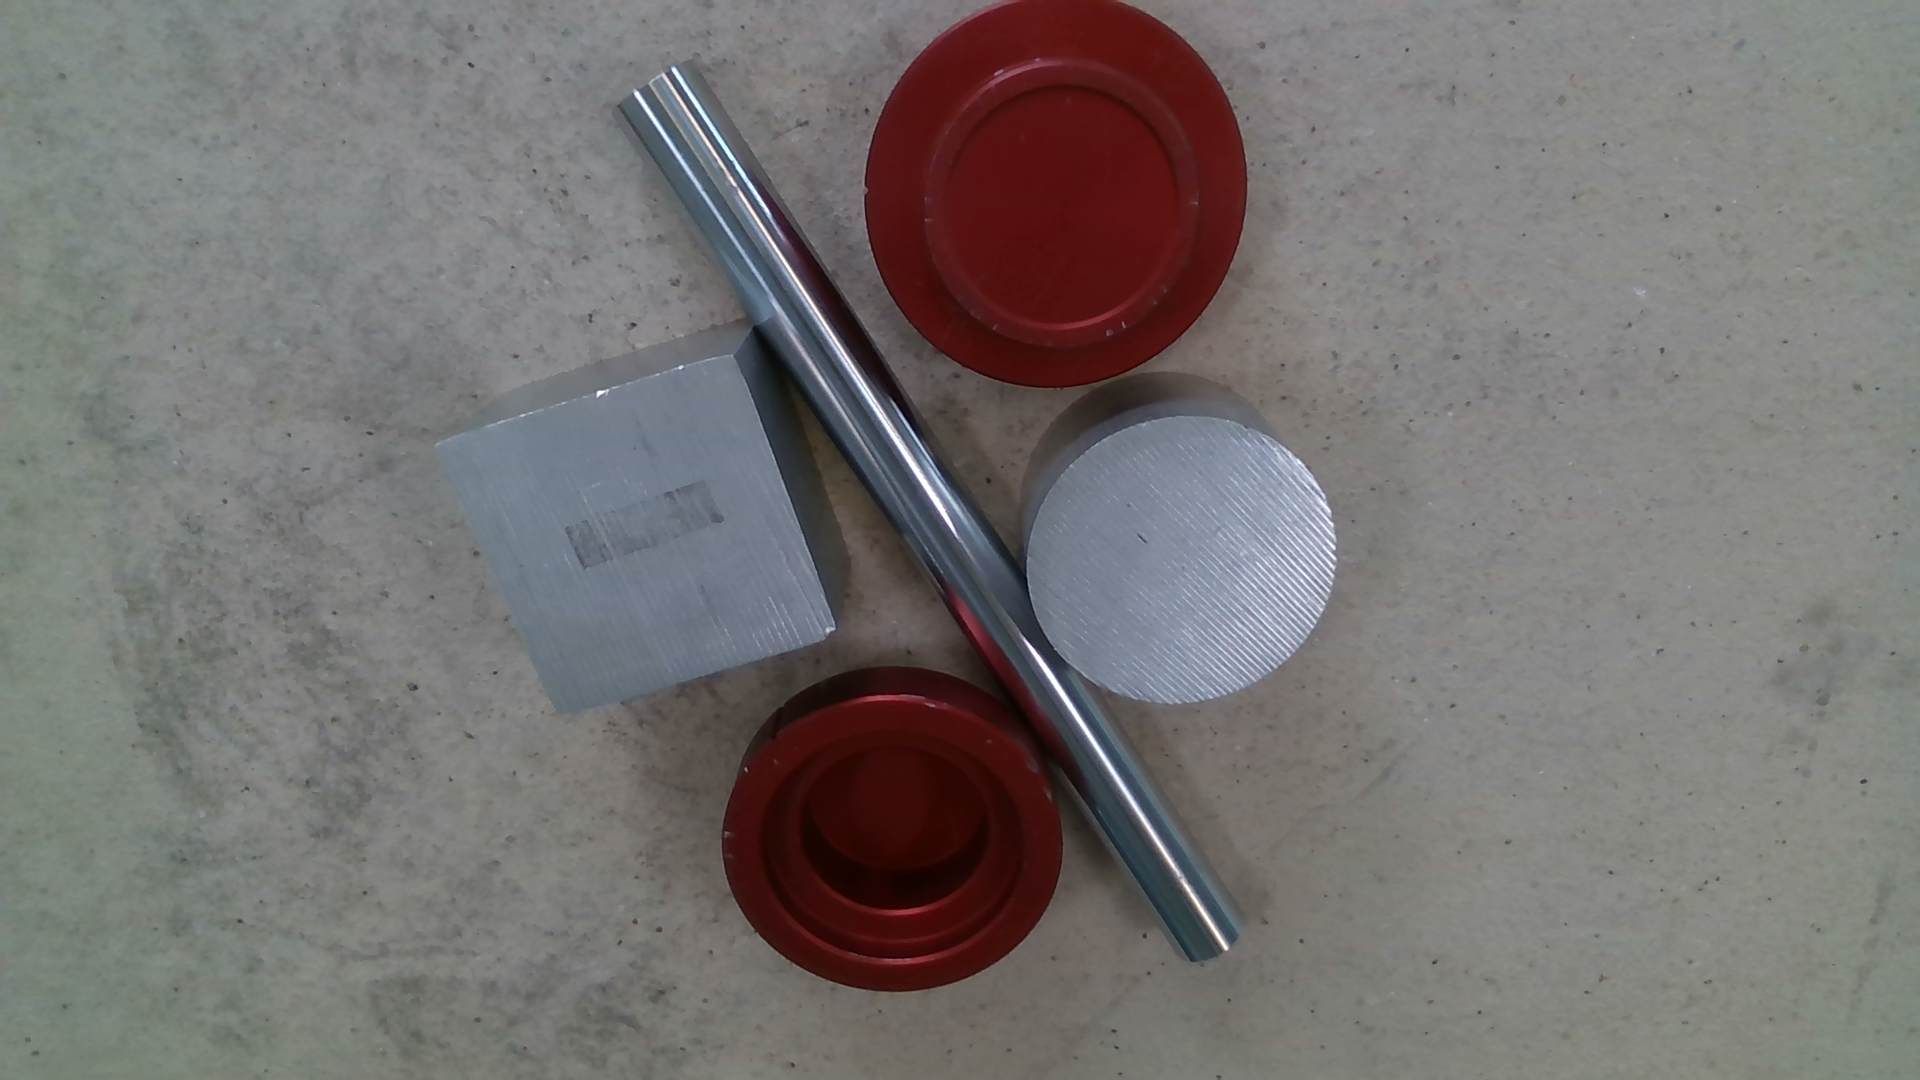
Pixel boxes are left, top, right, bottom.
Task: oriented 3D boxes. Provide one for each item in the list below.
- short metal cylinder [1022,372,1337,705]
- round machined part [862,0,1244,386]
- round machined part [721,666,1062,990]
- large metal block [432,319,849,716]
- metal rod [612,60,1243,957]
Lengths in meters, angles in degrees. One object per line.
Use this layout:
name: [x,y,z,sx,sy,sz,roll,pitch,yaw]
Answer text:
short metal cylinder: [0.057,-0.002,0.379,0.080,0.050,0.080,0,110,0]
round machined part: [0.024,-0.087,0.352,0.098,0.042,0.098,0,110,0]
round machined part: [-0.020,0.082,0.414,0.098,0.042,0.098,0,110,0]
large metal block: [-0.082,-0.008,0.378,0.080,0.050,0.080,-16,109,6]
metal rod: [0.000,0.004,0.396,0.025,0.025,0.301,-30,107,10]
